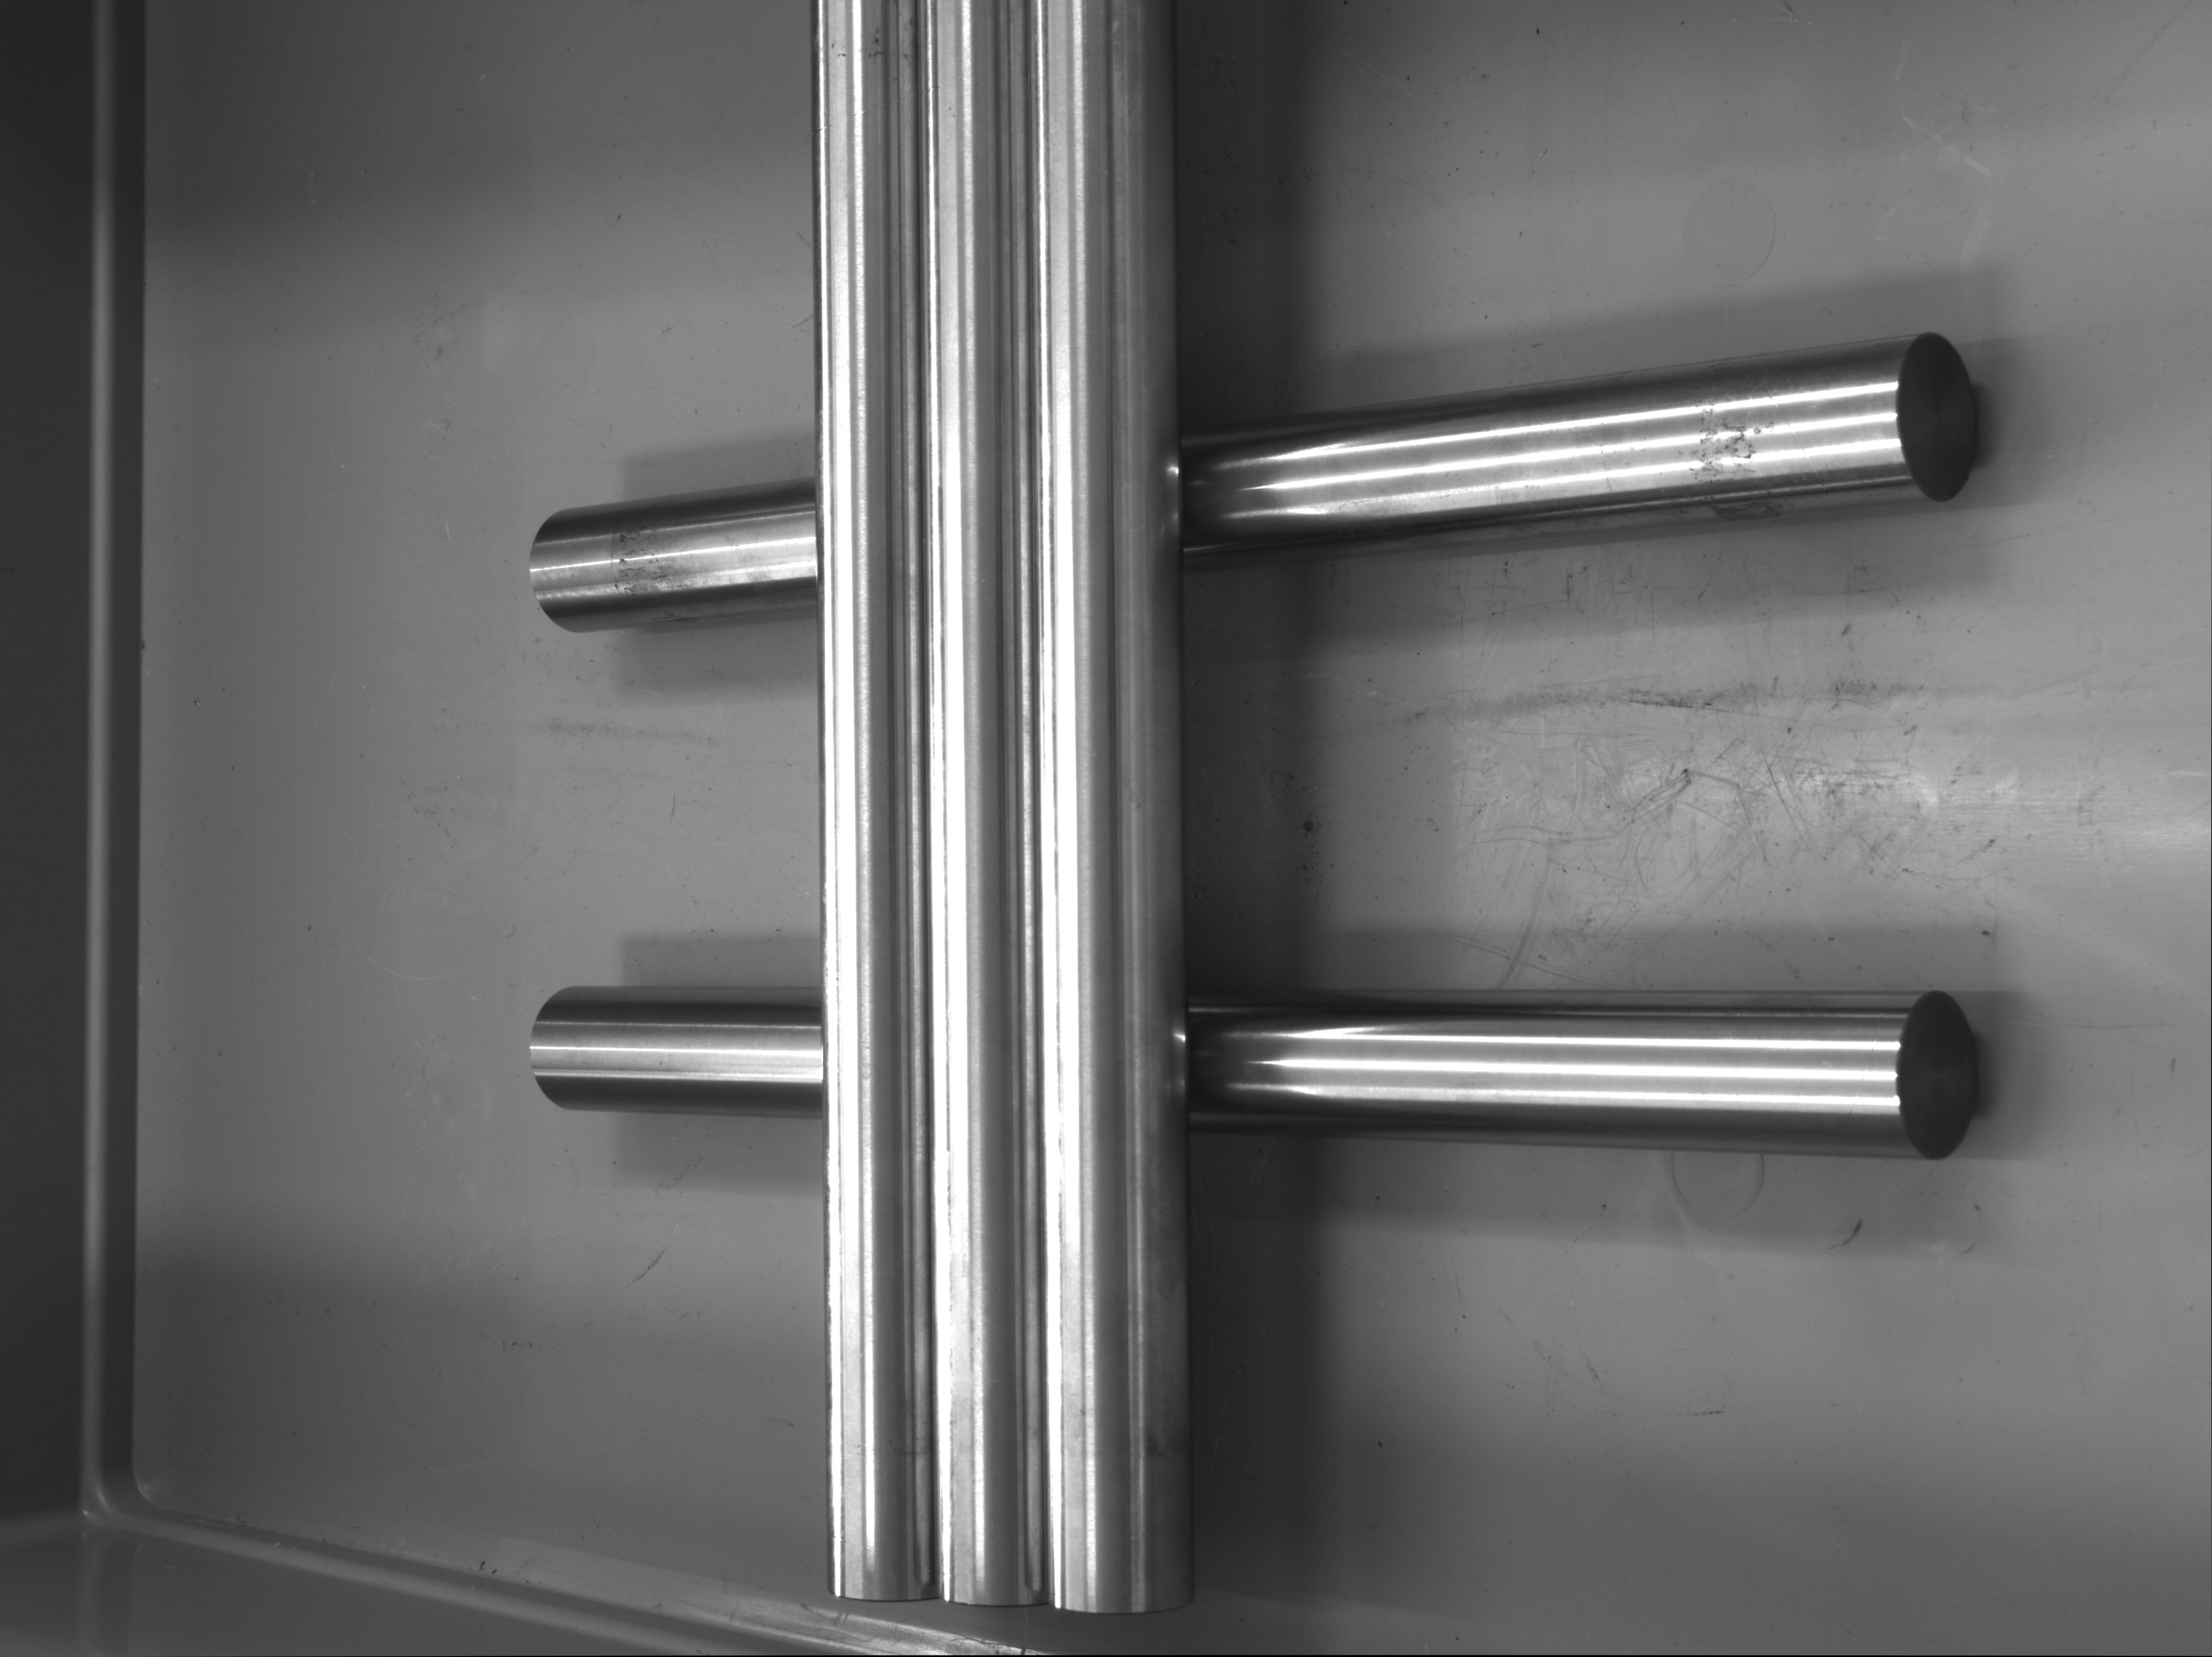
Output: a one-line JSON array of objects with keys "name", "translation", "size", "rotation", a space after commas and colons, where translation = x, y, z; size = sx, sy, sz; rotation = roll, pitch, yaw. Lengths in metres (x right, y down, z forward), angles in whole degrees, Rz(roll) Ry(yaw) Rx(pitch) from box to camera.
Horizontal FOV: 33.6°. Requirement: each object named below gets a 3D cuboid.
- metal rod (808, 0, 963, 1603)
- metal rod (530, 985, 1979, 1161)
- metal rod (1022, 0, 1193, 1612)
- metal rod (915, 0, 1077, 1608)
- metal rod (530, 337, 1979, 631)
[{"name": "metal rod", "translation": [-0.038, -0.017, 0.642], "size": [0.025, 0.025, 0.300], "rotation": [-1, 89, 40]}, {"name": "metal rod", "translation": [0.009, 0.040, 0.637], "size": [0.299, 0.025, 0.025], "rotation": [-2, 89, 40]}, {"name": "metal rod", "translation": [0.000, -0.023, 0.610], "size": [0.025, 0.025, 0.300], "rotation": [-1, 89, 40]}, {"name": "metal rod", "translation": [-0.019, -0.020, 0.626], "size": [0.025, 0.025, 0.300], "rotation": [-1, 89, 40]}, {"name": "metal rod", "translation": [0.009, -0.056, 0.637], "size": [0.299, 0.025, 0.025], "rotation": [-2, 89, 40]}]
